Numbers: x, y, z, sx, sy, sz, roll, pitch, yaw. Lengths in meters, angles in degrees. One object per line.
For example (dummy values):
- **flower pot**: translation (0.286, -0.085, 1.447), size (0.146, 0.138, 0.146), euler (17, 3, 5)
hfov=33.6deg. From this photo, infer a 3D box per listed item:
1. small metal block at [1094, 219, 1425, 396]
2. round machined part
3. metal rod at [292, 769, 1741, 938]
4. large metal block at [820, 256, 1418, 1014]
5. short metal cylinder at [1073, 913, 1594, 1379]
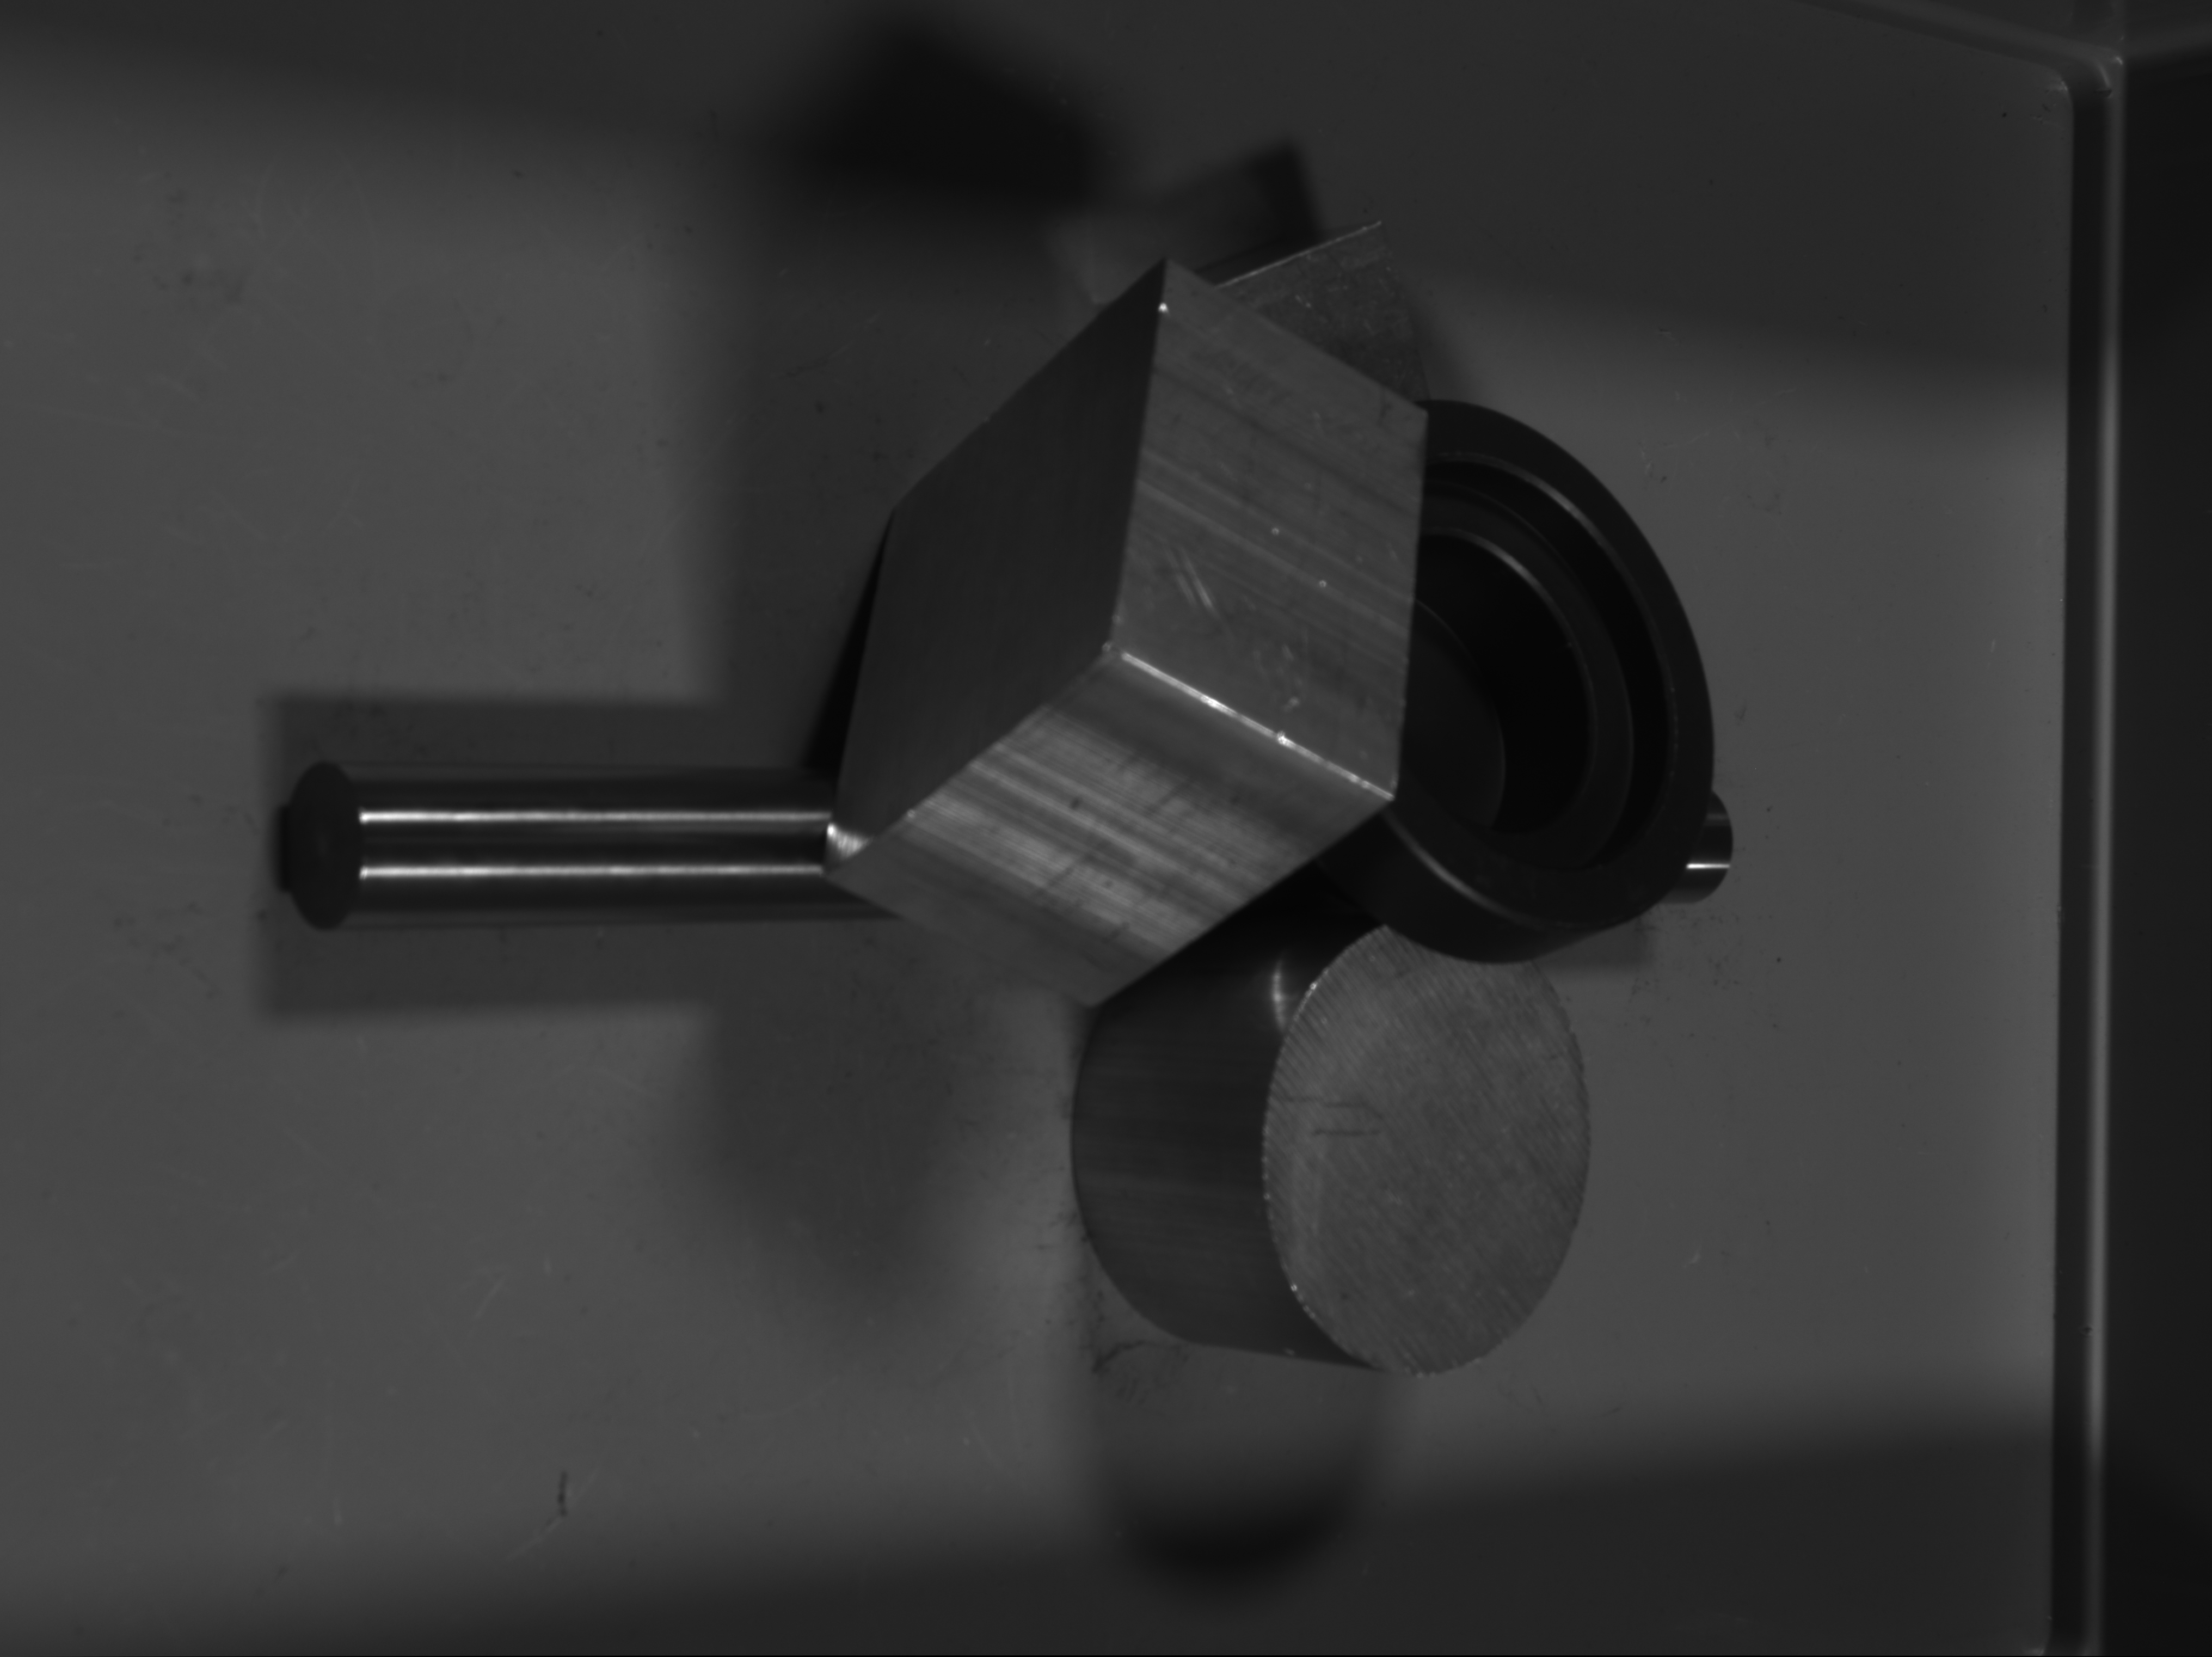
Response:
- **small metal block**: translation (0.031, -0.078, 0.662), size (0.050, 0.025, 0.050), euler (-26, 106, -37)
- **round machined part**: translation (0.059, -0.022, 0.649), size (0.098, 0.042, 0.098), euler (16, 63, -34)
- **metal rod**: translation (0.002, 0.004, 0.635), size (0.301, 0.025, 0.025), euler (0, 90, -40)
- **large metal block**: translation (0.003, -0.029, 0.584), size (0.050, 0.080, 0.080), euler (27, 50, -25)
- **short metal cylinder**: translation (0.041, 0.055, 0.652), size (0.080, 0.050, 0.080), euler (0, 90, -40)
